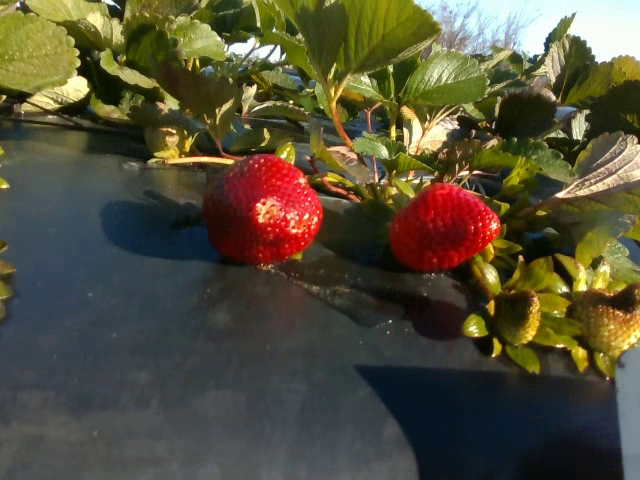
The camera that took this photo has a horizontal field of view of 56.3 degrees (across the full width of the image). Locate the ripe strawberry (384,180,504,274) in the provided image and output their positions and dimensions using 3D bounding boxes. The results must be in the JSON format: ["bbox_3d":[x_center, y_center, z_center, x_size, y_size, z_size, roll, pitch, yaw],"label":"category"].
[{"bbox_3d":[0.049,-0.004,0.224,0.042,0.039,0.049,-37,15,-21],"label":"ripe strawberry"}]

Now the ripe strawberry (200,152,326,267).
[{"bbox_3d":[-0.022,-0.011,0.207,0.050,0.045,0.050,23,-3,-2],"label":"ripe strawberry"}]
